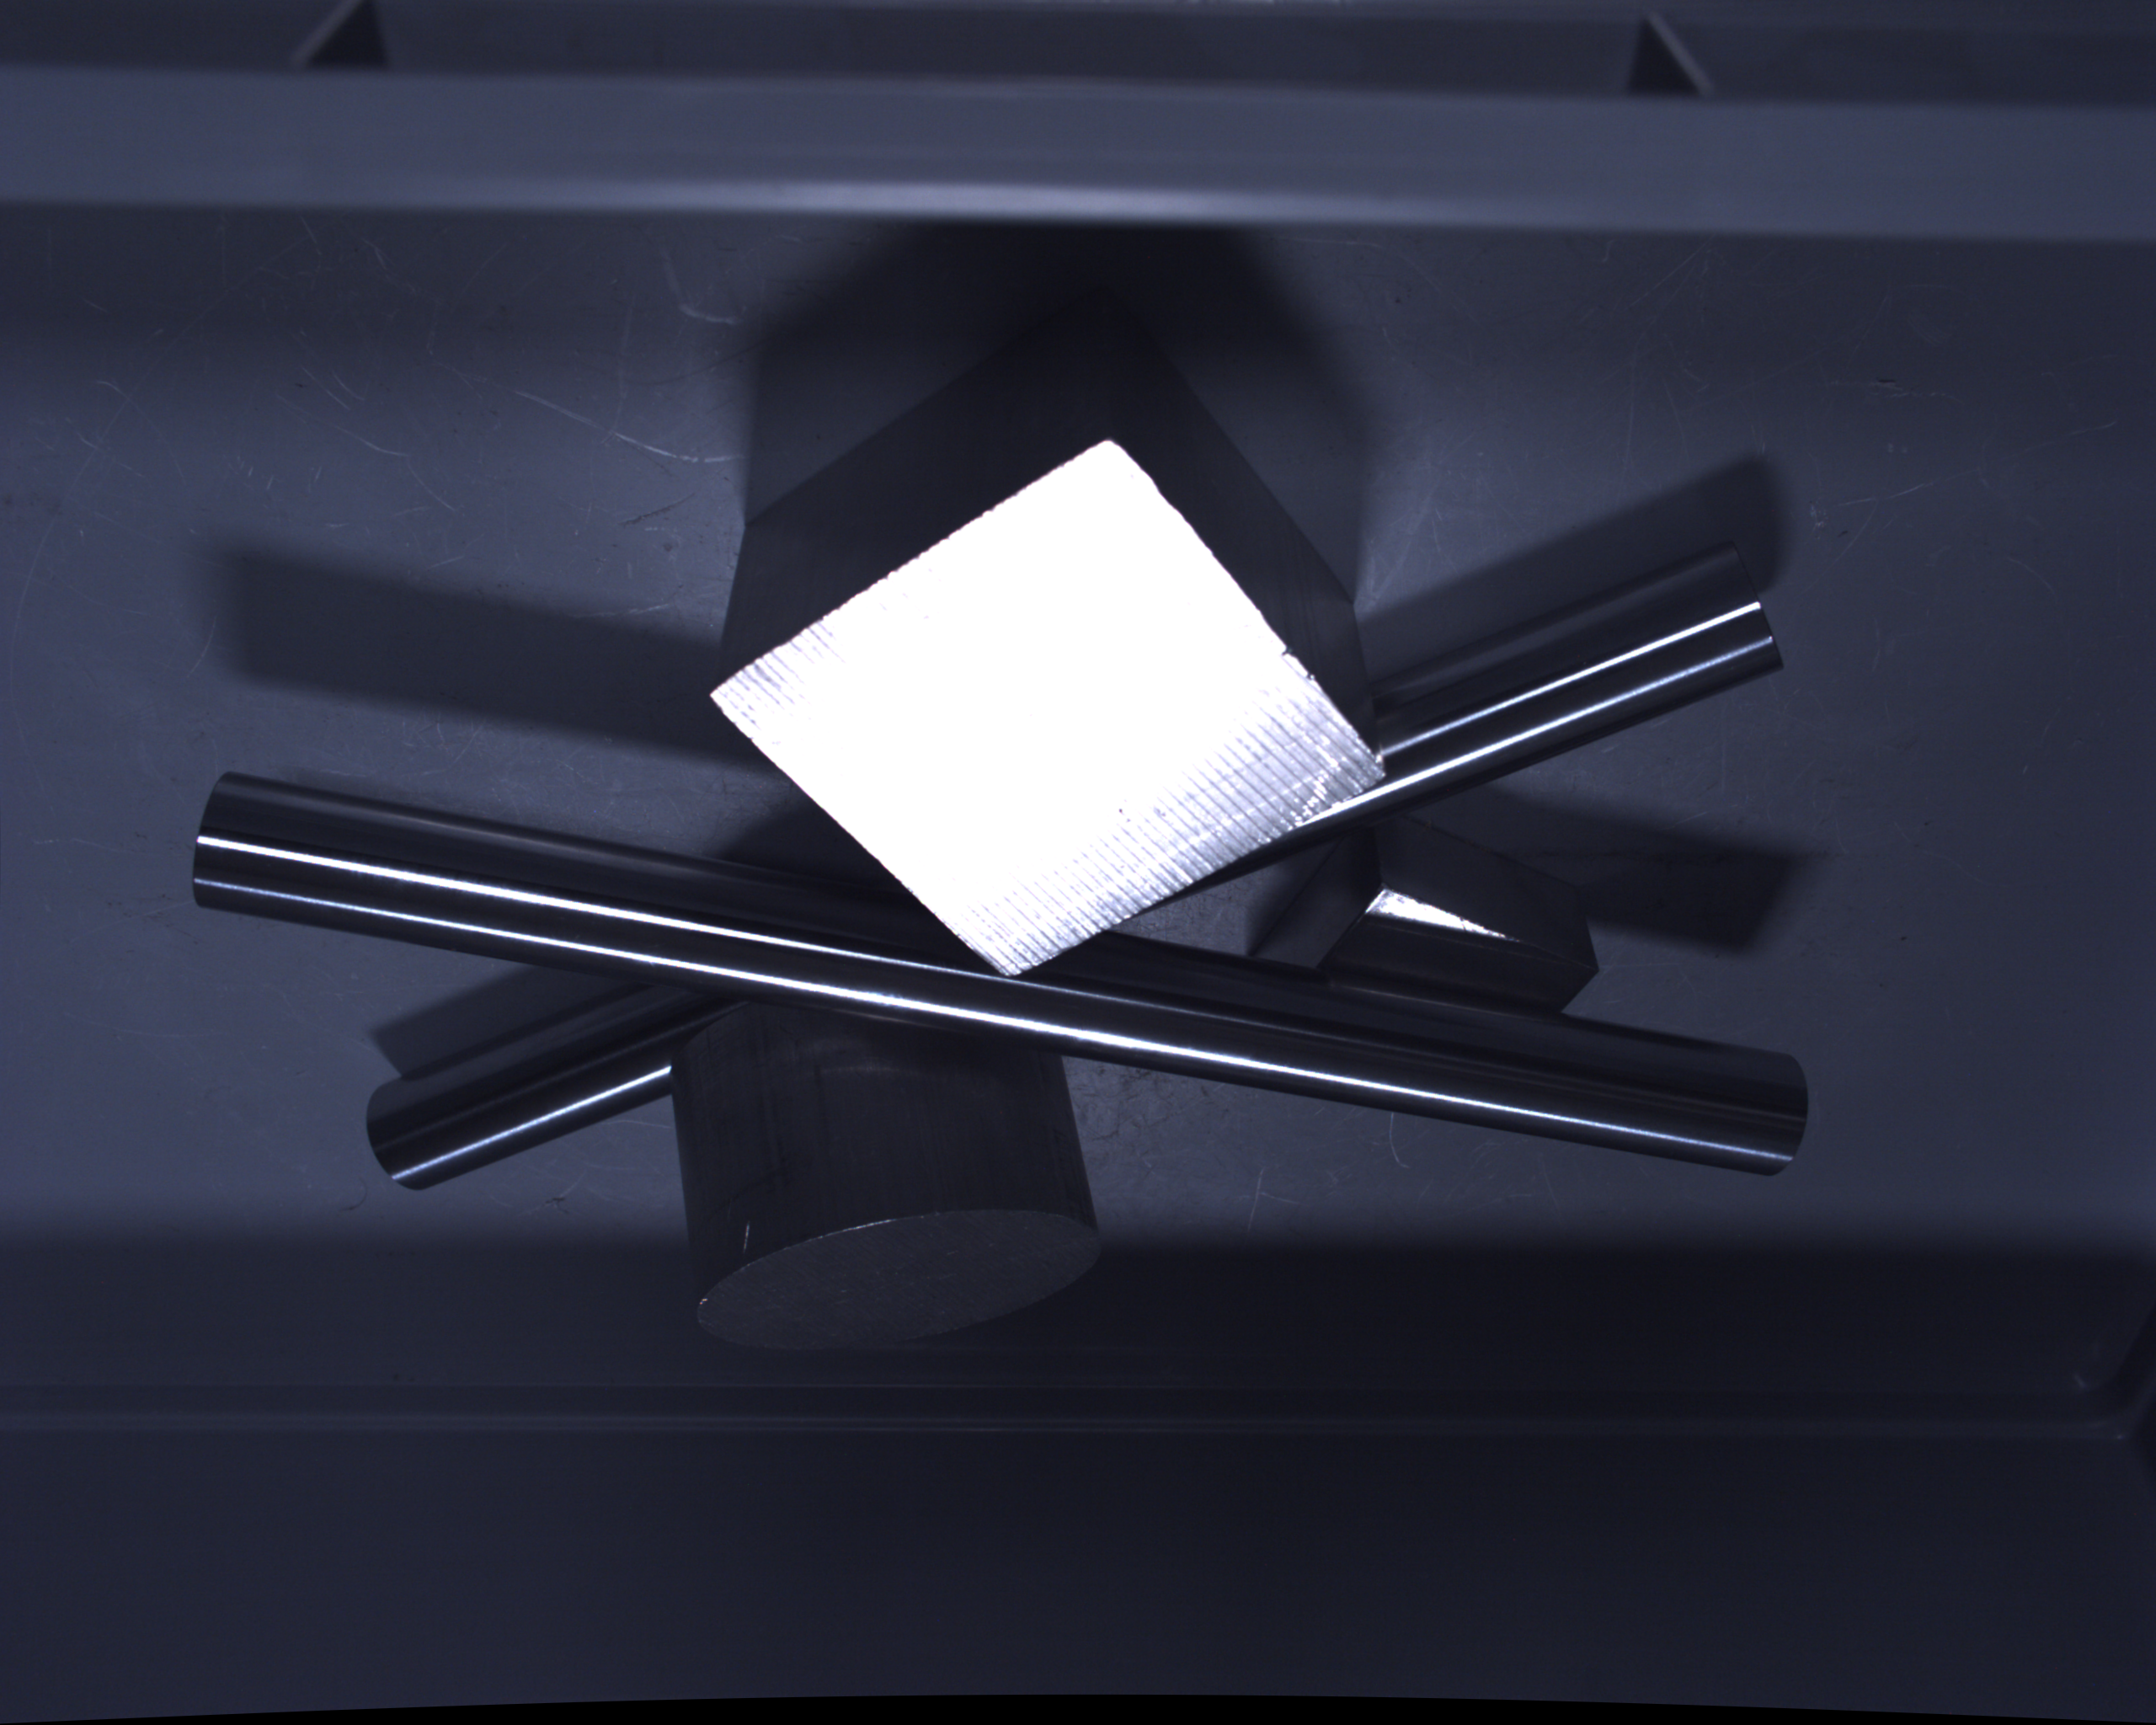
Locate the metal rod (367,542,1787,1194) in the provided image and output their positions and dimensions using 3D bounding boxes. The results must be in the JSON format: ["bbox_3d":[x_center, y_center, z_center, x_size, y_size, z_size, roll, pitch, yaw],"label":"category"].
[{"bbox_3d":[-0.013,0.008,0.413,0.300,0.025,0.025,-22,127,17],"label":"metal rod"}]

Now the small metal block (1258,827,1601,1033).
[{"bbox_3d":[0.069,0.023,0.425,0.050,0.025,0.050,21,127,-17],"label":"small metal block"}]

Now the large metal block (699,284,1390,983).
[{"bbox_3d":[-0.004,-0.037,0.359,0.080,0.050,0.080,-29,125,22],"label":"large metal block"}]

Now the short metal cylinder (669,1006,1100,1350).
[{"bbox_3d":[-0.040,0.062,0.425,0.081,0.050,0.080,-10,153,-5],"label":"short metal cylinder"}]

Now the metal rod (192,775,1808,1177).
[{"bbox_3d":[-0.007,0.024,0.394,0.302,0.025,0.025,10,129,-9],"label":"metal rod"}]
